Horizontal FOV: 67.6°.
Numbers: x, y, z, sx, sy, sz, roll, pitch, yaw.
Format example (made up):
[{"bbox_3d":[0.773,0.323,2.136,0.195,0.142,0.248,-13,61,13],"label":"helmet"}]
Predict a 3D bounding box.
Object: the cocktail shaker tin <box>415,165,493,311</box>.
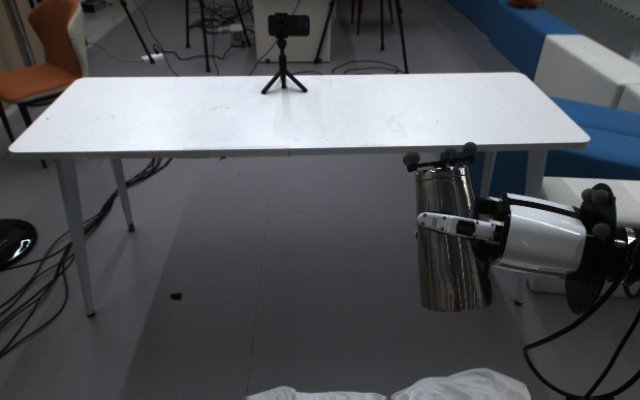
[{"bbox_3d":[0.165,0.045,0.612,0.093,0.170,0.093,-8,1,0],"label":"cocktail shaker tin"}]
